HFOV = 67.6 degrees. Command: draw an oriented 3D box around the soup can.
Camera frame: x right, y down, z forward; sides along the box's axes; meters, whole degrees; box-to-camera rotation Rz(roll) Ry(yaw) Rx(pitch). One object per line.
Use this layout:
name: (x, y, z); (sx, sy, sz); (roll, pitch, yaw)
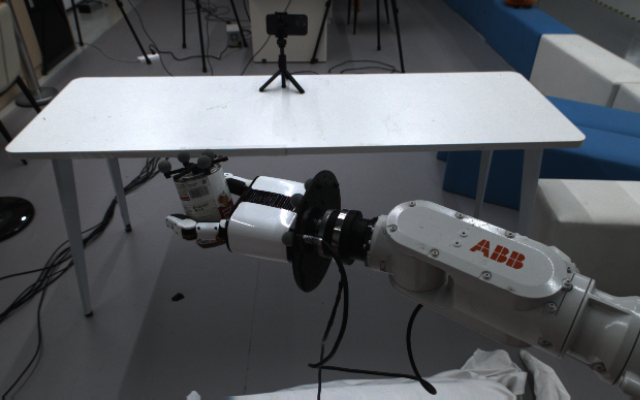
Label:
soup can: (-0.152, 0.007, 0.665); (0.067, 0.101, 0.067); (-13, 20, 5)
